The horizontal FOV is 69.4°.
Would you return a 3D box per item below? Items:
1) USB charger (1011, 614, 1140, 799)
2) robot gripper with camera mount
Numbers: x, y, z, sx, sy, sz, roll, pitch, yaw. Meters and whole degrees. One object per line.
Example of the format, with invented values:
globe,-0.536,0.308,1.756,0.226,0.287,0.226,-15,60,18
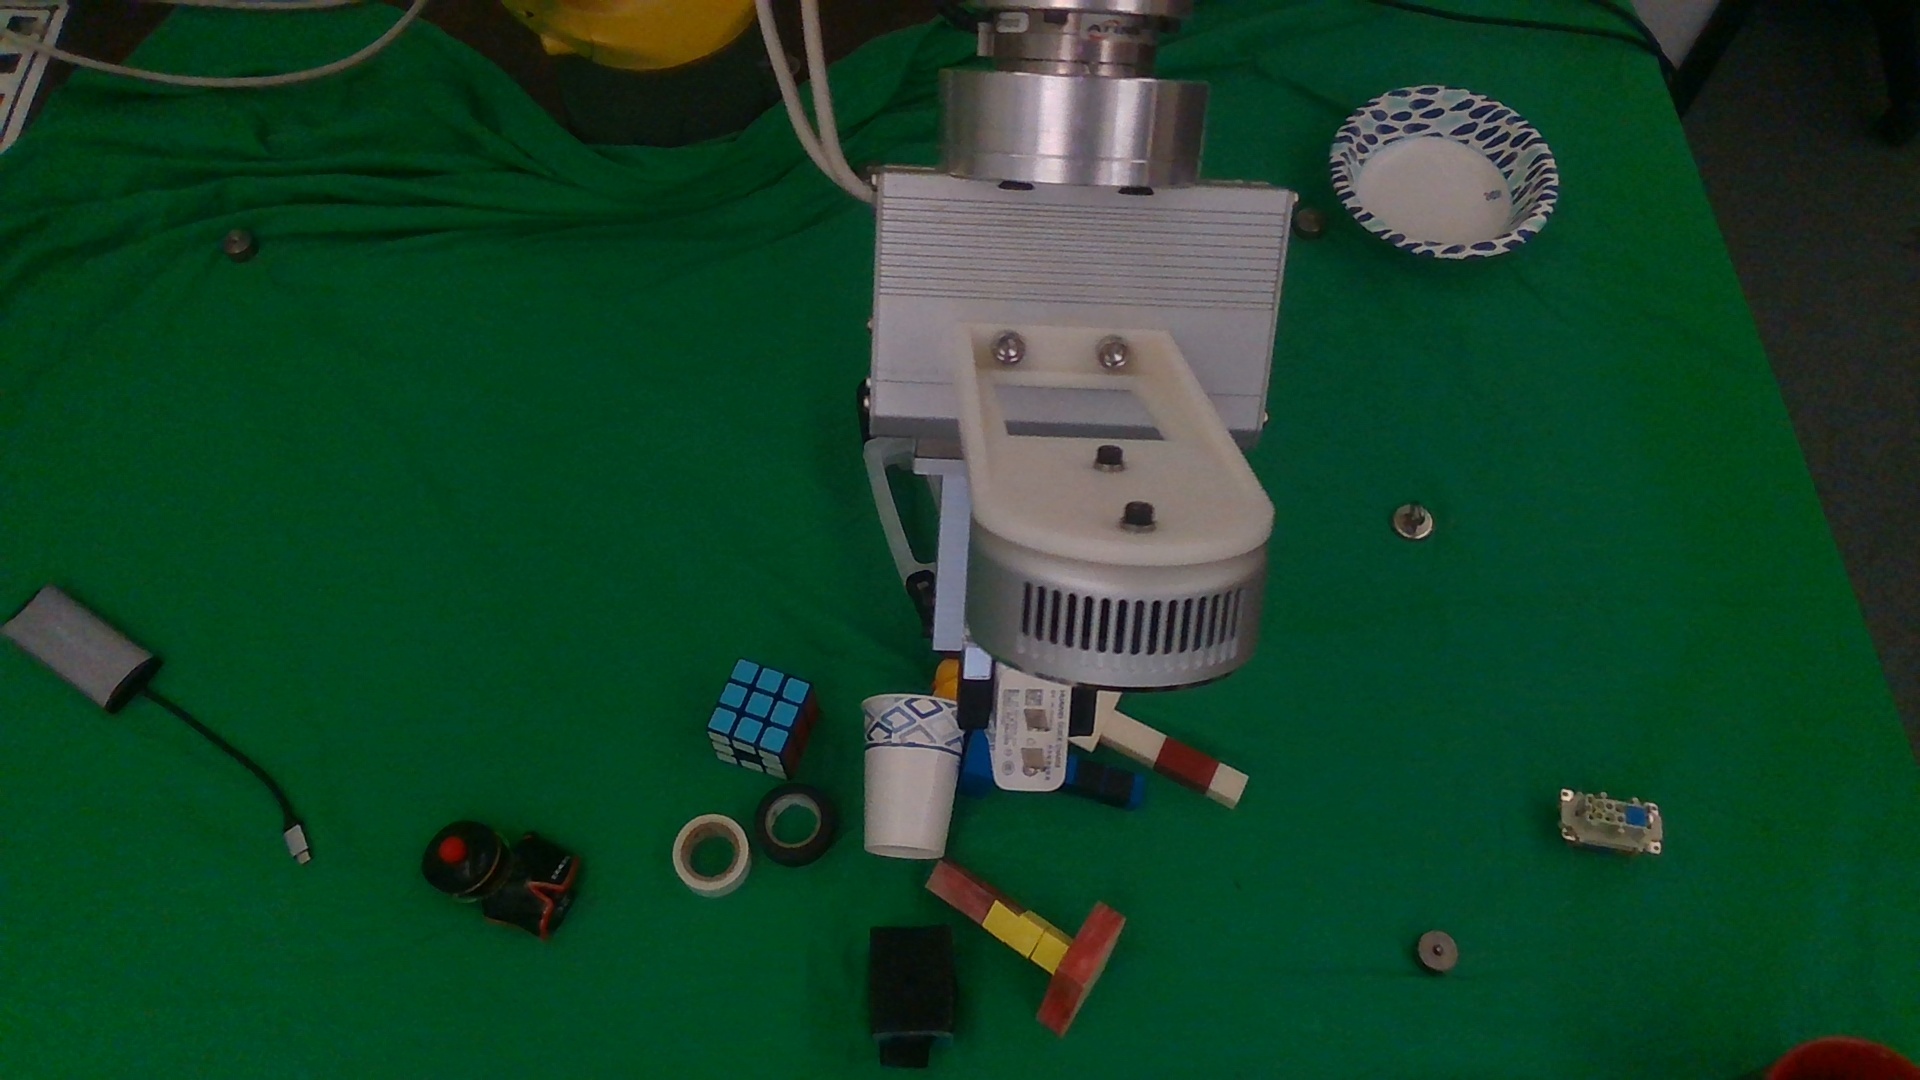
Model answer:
USB charger,0.035,0.050,0.411,0.029,0.075,0.044,-8,98,-6
robot gripper with camera mount,0.035,0.006,0.335,0.119,0.158,0.193,0,18,1
